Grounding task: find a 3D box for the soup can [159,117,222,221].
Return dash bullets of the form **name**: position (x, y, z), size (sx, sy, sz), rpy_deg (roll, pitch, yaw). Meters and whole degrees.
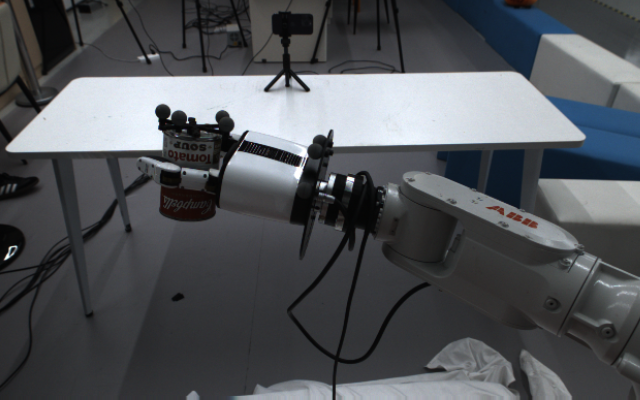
- **soup can**: position (-0.154, -0.032, 0.579), size (0.067, 0.101, 0.067), rpy_deg (8, 19, -3)
